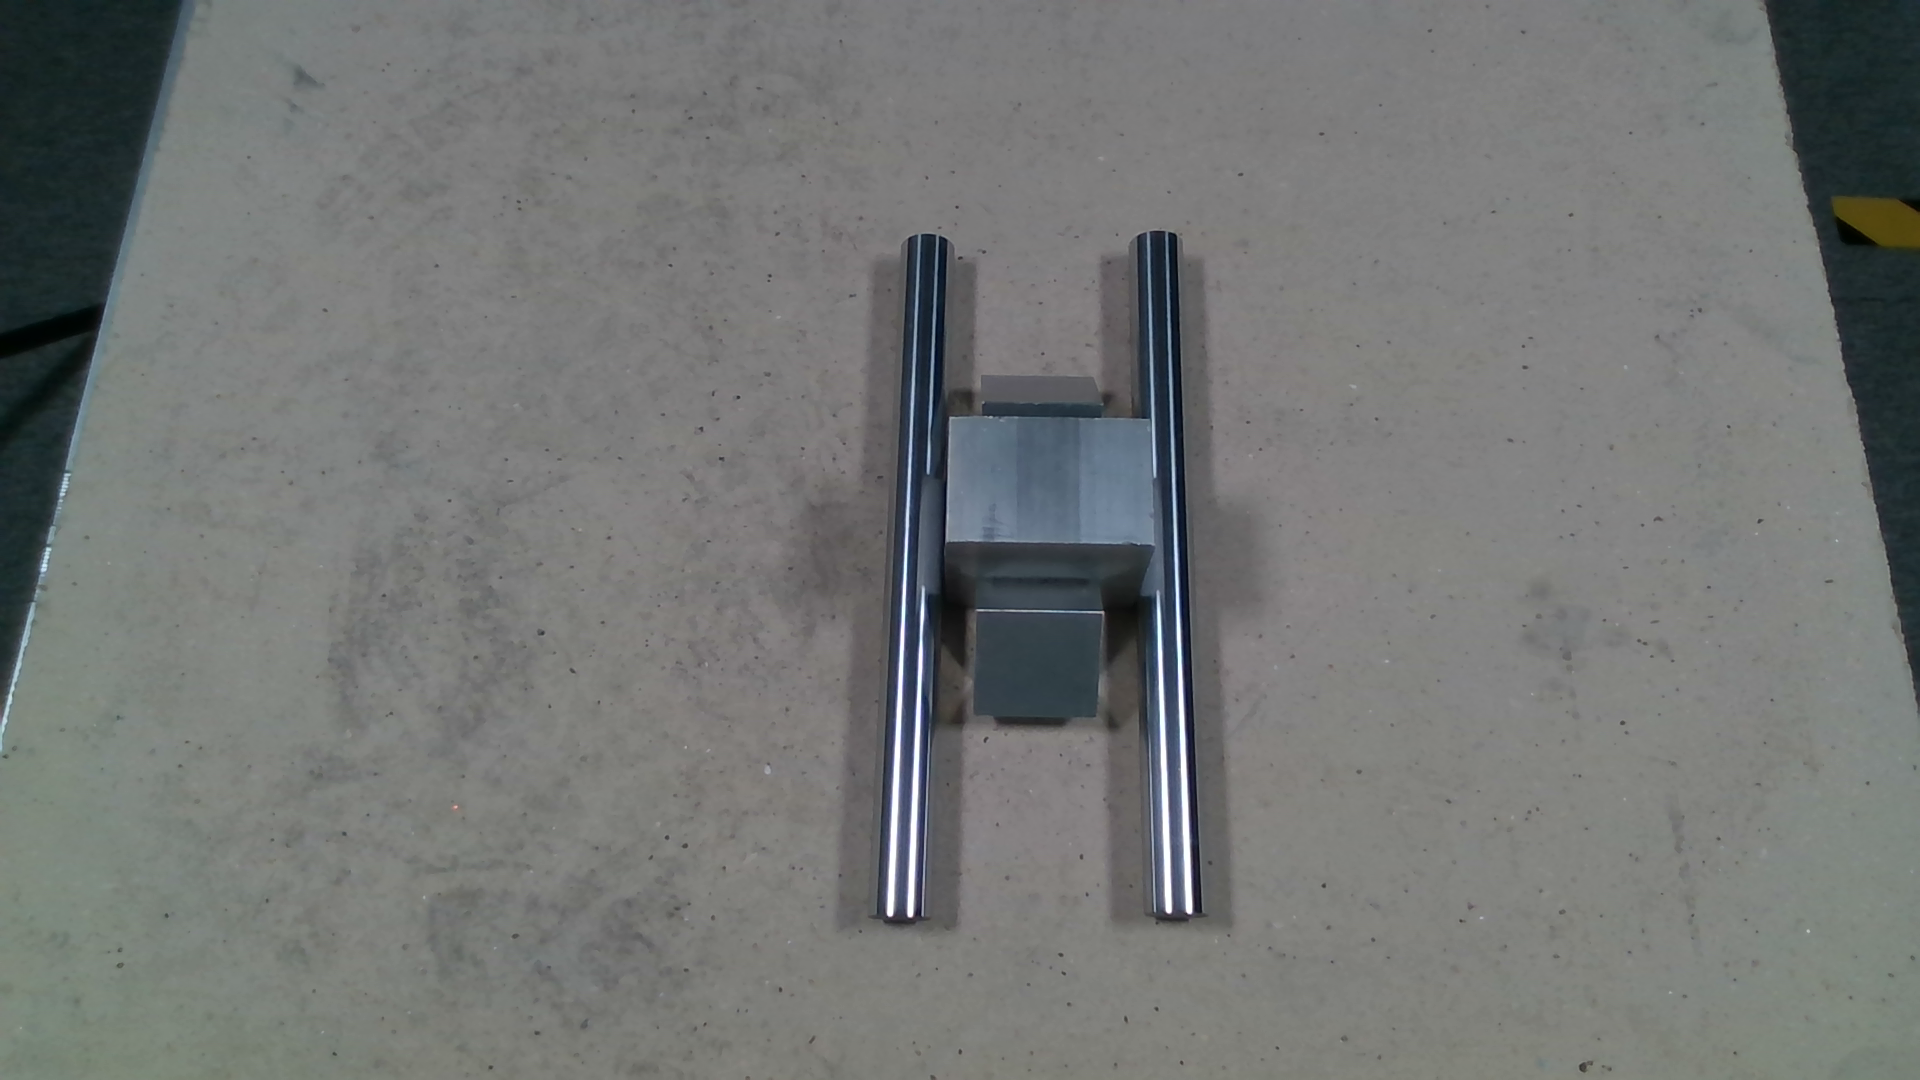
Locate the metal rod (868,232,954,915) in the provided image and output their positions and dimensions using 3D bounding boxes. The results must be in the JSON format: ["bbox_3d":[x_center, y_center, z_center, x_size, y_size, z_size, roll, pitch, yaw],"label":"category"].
[{"bbox_3d":[-0.019,0.005,0.586,0.025,0.025,0.299,2,70,1],"label":"metal rod"}]

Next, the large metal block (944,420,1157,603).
[{"bbox_3d":[0.034,-0.009,0.565,0.080,0.080,0.050,1,70,0],"label":"large metal block"}]

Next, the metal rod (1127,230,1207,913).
[{"bbox_3d":[0.087,0.004,0.587,0.025,0.025,0.299,1,70,0],"label":"metal rod"}]

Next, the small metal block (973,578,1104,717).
[{"bbox_3d":[0.031,0.044,0.558,0.050,0.050,0.025,1,29,0],"label":"small metal block"}]

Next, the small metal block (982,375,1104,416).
[{"bbox_3d":[0.034,-0.053,0.593,0.050,0.050,0.025,1,109,1],"label":"small metal block"}]
